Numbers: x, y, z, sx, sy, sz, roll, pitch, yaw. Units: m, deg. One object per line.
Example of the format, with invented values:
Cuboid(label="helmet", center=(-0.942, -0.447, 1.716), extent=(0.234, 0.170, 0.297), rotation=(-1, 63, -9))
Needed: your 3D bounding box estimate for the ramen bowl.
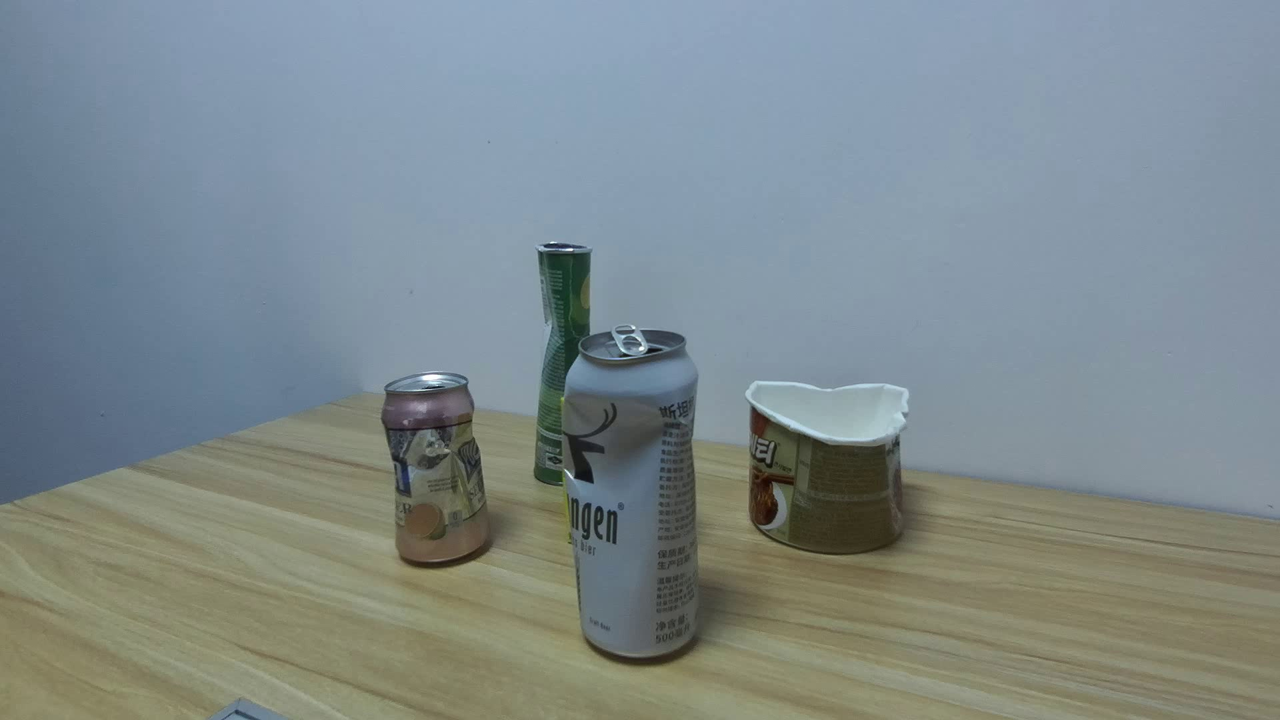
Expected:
Cuboid(label="ramen bowl", center=(0.134, 0.074, 0.504), extent=(0.113, 0.097, 0.134), rotation=(2, 13, 11))

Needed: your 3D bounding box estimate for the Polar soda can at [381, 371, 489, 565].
Cuboid(label="Polar soda can", center=(-0.142, 0.077, 0.488), extent=(0.067, 0.122, 0.074), rotation=(3, 11, 34))

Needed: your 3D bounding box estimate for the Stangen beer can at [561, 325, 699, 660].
Cuboid(label="Stangen beer can", center=(-0.003, 0.070, 0.373), extent=(0.070, 0.173, 0.070), rotation=(-5, 14, -13))

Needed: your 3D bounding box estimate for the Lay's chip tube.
Cuboid(label="Lay's chip tube", center=(-0.061, 0.006, 0.601), extent=(0.074, 0.199, 0.069), rotation=(4, 11, 33))
